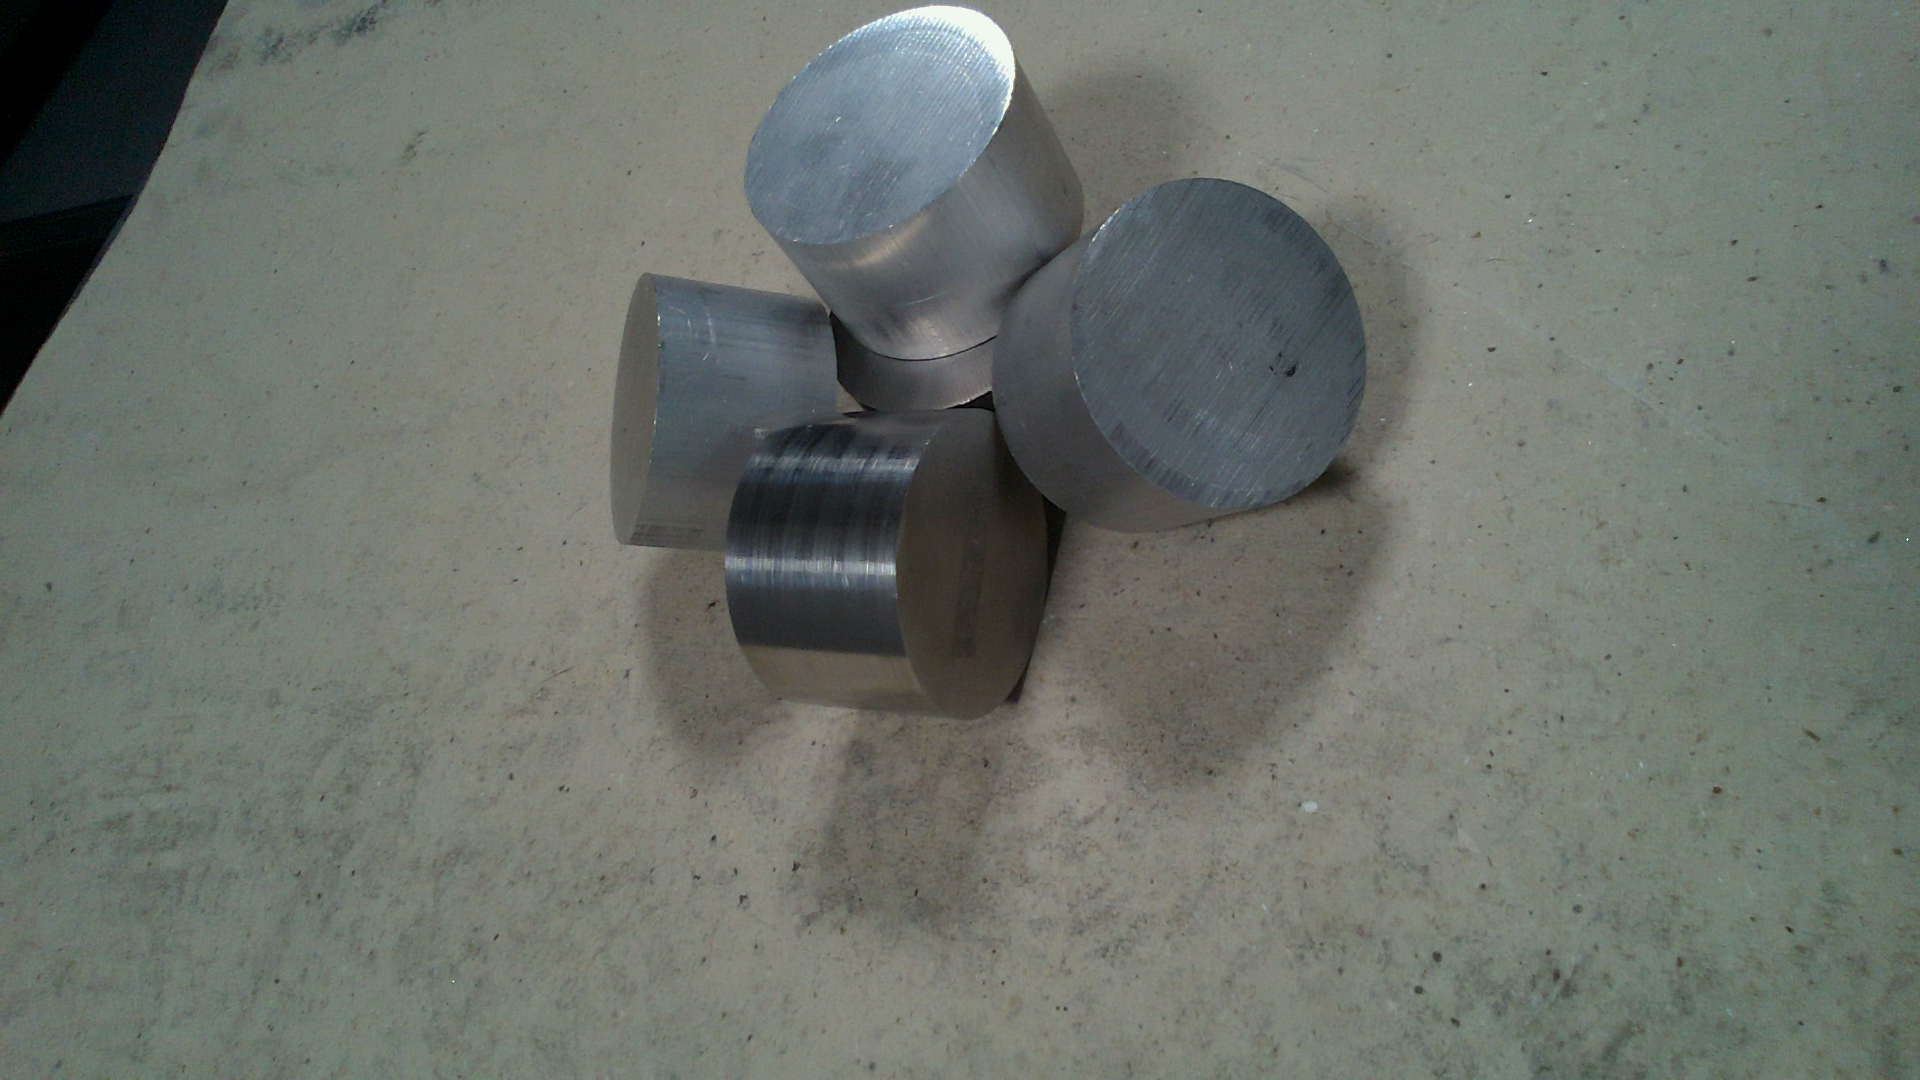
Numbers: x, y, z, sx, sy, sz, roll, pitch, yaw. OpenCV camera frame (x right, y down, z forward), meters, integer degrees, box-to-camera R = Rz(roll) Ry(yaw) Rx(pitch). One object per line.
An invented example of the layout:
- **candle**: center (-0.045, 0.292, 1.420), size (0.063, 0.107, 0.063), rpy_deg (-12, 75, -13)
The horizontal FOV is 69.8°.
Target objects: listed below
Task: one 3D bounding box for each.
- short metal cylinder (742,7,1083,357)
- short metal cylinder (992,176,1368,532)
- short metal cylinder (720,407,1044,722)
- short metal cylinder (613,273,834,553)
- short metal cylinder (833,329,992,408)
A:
- **short metal cylinder**: center (-0.012, -0.098, 0.379), size (0.080, 0.050, 0.080), rpy_deg (-14, 56, 21)
- **short metal cylinder**: center (0.054, -0.044, 0.349), size (0.080, 0.080, 0.050), rpy_deg (-62, 15, -16)
- **short metal cylinder**: center (-0.018, 0.006, 0.363), size (0.050, 0.080, 0.080), rpy_deg (2, 62, 29)
- **short metal cylinder**: center (-0.074, -0.036, 0.414), size (0.080, 0.050, 0.080), rpy_deg (-175, 90, -68)
- **short metal cylinder**: center (0.007, -0.058, 0.410), size (0.080, 0.050, 0.080), rpy_deg (-14, 56, 21)
